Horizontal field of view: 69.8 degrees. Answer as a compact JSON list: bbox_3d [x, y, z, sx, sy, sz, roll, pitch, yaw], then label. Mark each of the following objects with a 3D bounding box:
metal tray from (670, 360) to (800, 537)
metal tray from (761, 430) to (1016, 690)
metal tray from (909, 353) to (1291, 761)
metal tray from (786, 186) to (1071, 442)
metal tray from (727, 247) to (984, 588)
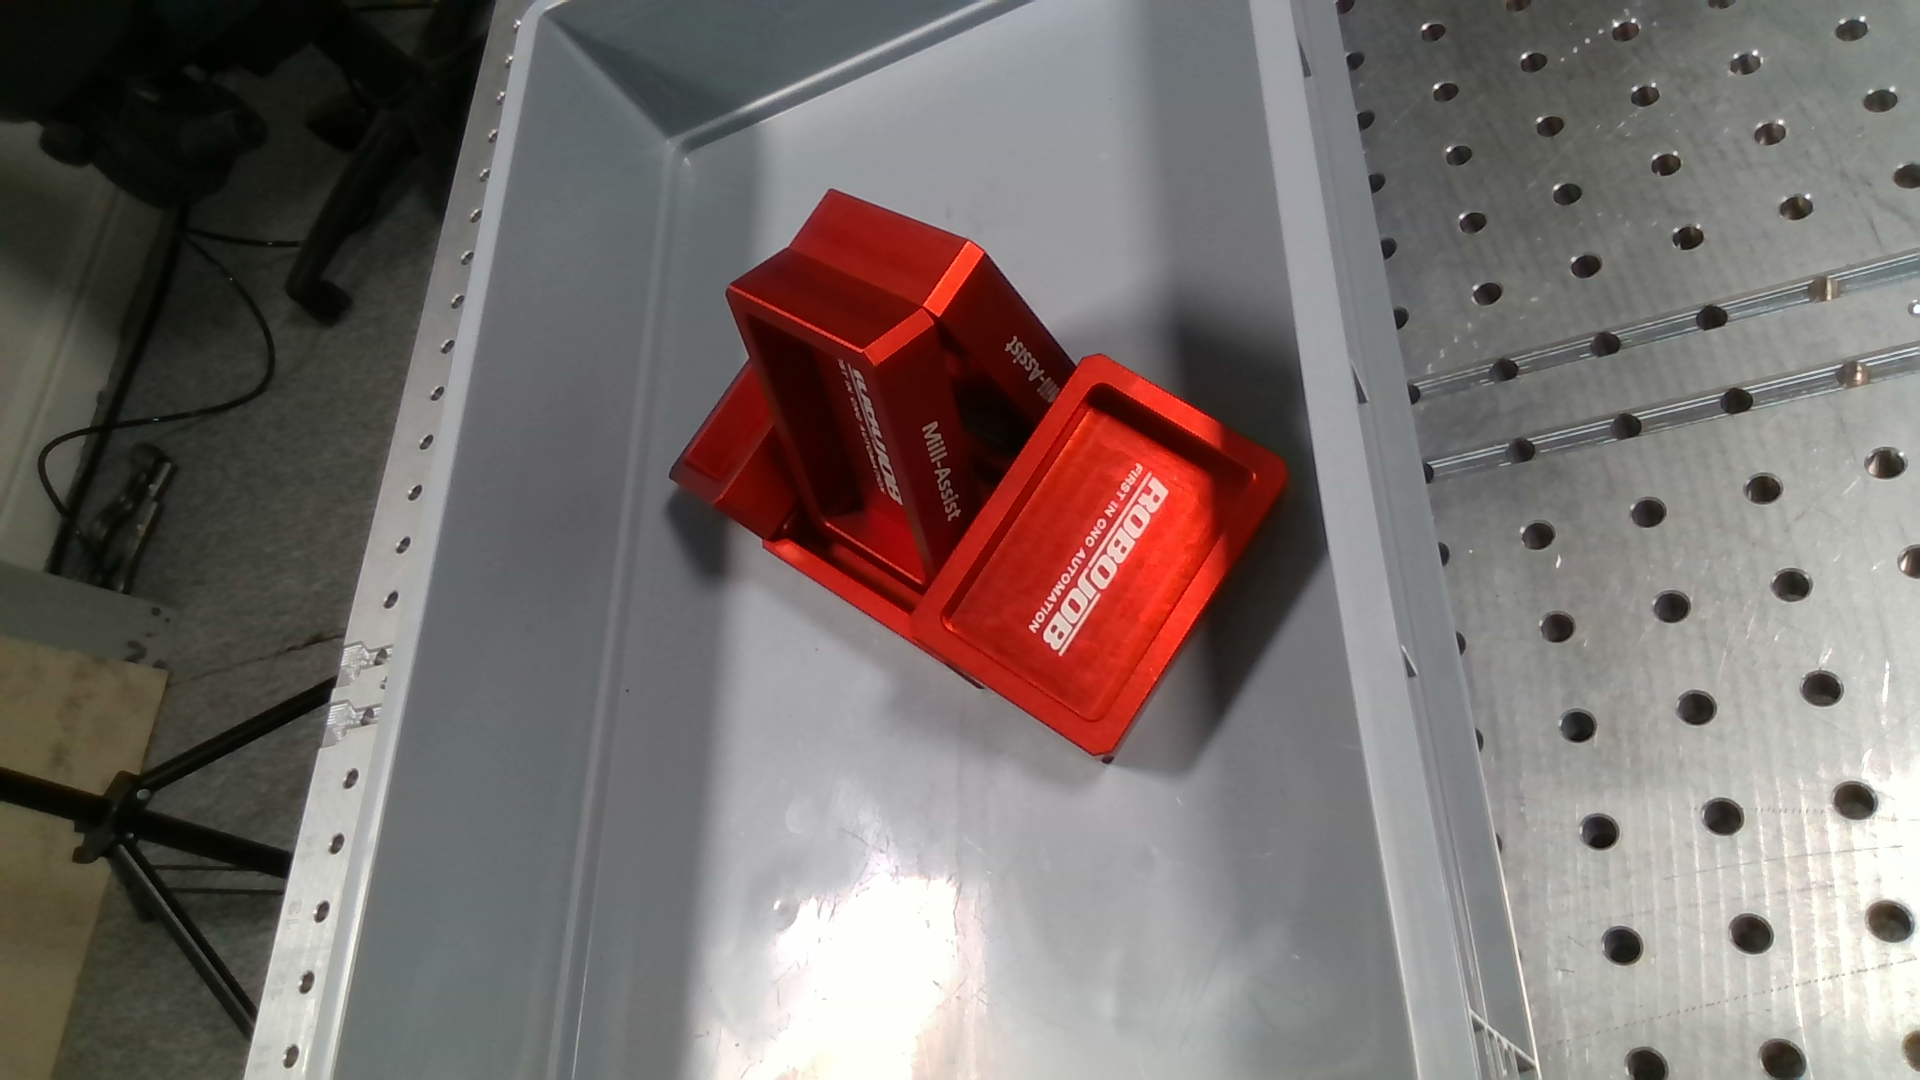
[{"bbox_3d":[-0.078,-0.070,0.644,0.130,0.030,0.090,-56,27,-5],"label":"metal tray"},{"bbox_3d":[-0.016,-0.005,0.592,0.130,0.030,0.090,29,83,39],"label":"metal tray"},{"bbox_3d":[0.053,0.006,0.522,0.090,0.030,0.130,32,84,13],"label":"metal tray"},{"bbox_3d":[-0.002,-0.083,0.560,0.090,0.130,0.030,30,82,39],"label":"metal tray"},{"bbox_3d":[-0.036,-0.043,0.546,0.030,0.130,0.090,-40,48,-23],"label":"metal tray"}]
